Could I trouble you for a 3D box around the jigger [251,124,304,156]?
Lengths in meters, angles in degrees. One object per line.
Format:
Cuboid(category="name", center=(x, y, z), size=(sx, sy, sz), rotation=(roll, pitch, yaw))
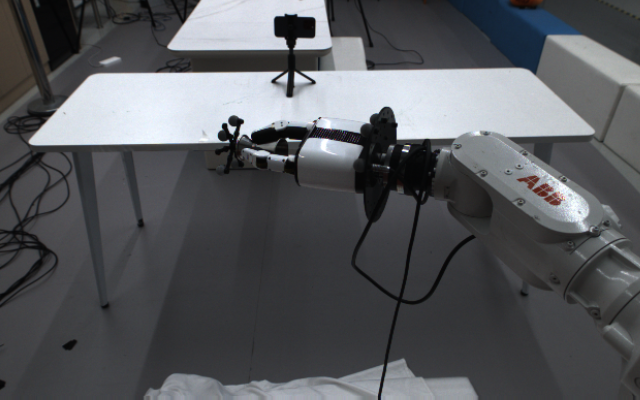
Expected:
Cuboid(category="jigger", center=(-0.083, -0.077, 0.729), size=(0.071, 0.043, 0.043), rotation=(10, 35, 21))
